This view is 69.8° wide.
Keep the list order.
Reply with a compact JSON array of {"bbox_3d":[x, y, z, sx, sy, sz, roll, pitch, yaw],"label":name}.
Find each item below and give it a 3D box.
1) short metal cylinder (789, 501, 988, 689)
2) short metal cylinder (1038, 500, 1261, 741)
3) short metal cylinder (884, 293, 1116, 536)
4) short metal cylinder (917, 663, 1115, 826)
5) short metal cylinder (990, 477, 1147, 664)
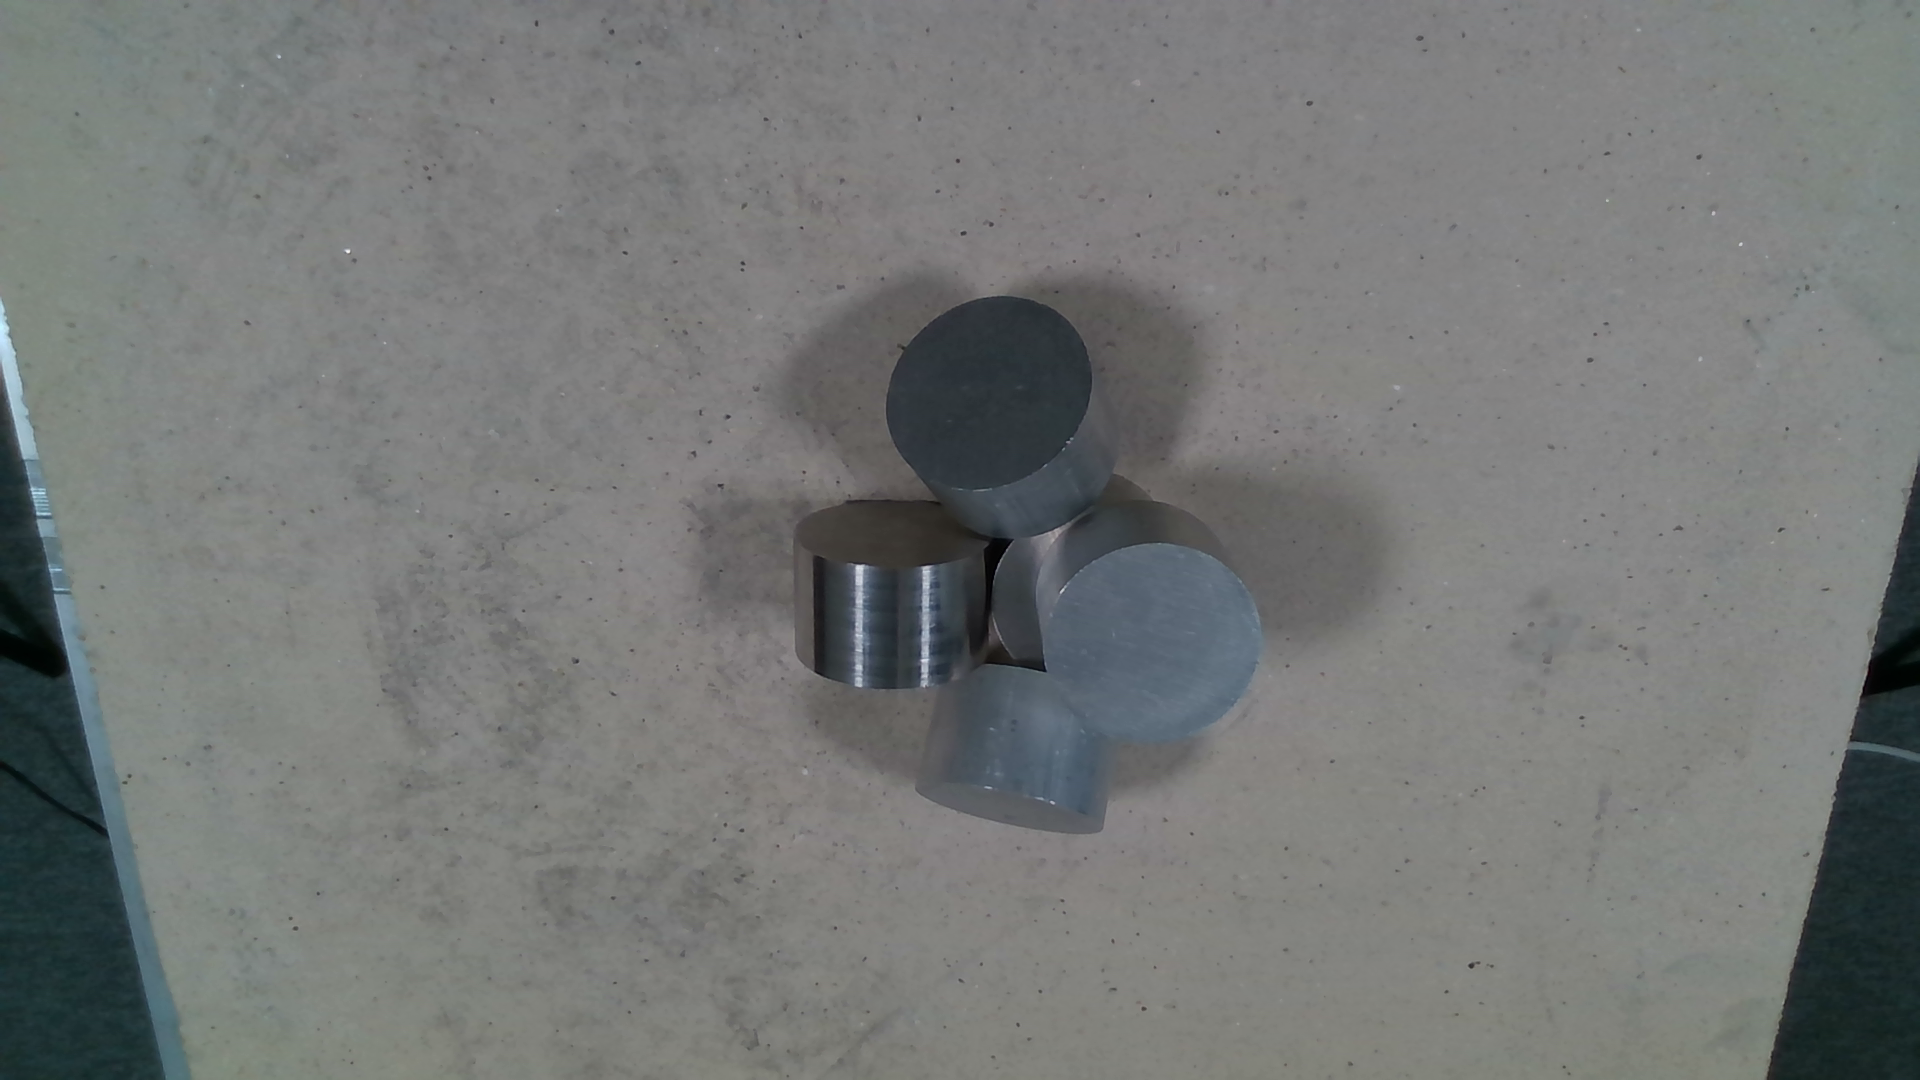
[{"bbox_3d":[-0.029,0.020,0.562,0.080,0.080,0.050,2,110,0],"label":"short metal cylinder"},{"bbox_3d":[0.070,0.030,0.528,0.080,0.050,0.080,0,110,0],"label":"short metal cylinder"},{"bbox_3d":[0.017,-0.048,0.532,0.080,0.050,0.080,-6,68,16],"label":"short metal cylinder"},{"bbox_3d":[0.025,0.089,0.582,0.080,0.080,0.050,14,71,-5],"label":"short metal cylinder"},{"bbox_3d":[0.052,0.015,0.577,0.080,0.050,0.080,0,110,0],"label":"short metal cylinder"}]
